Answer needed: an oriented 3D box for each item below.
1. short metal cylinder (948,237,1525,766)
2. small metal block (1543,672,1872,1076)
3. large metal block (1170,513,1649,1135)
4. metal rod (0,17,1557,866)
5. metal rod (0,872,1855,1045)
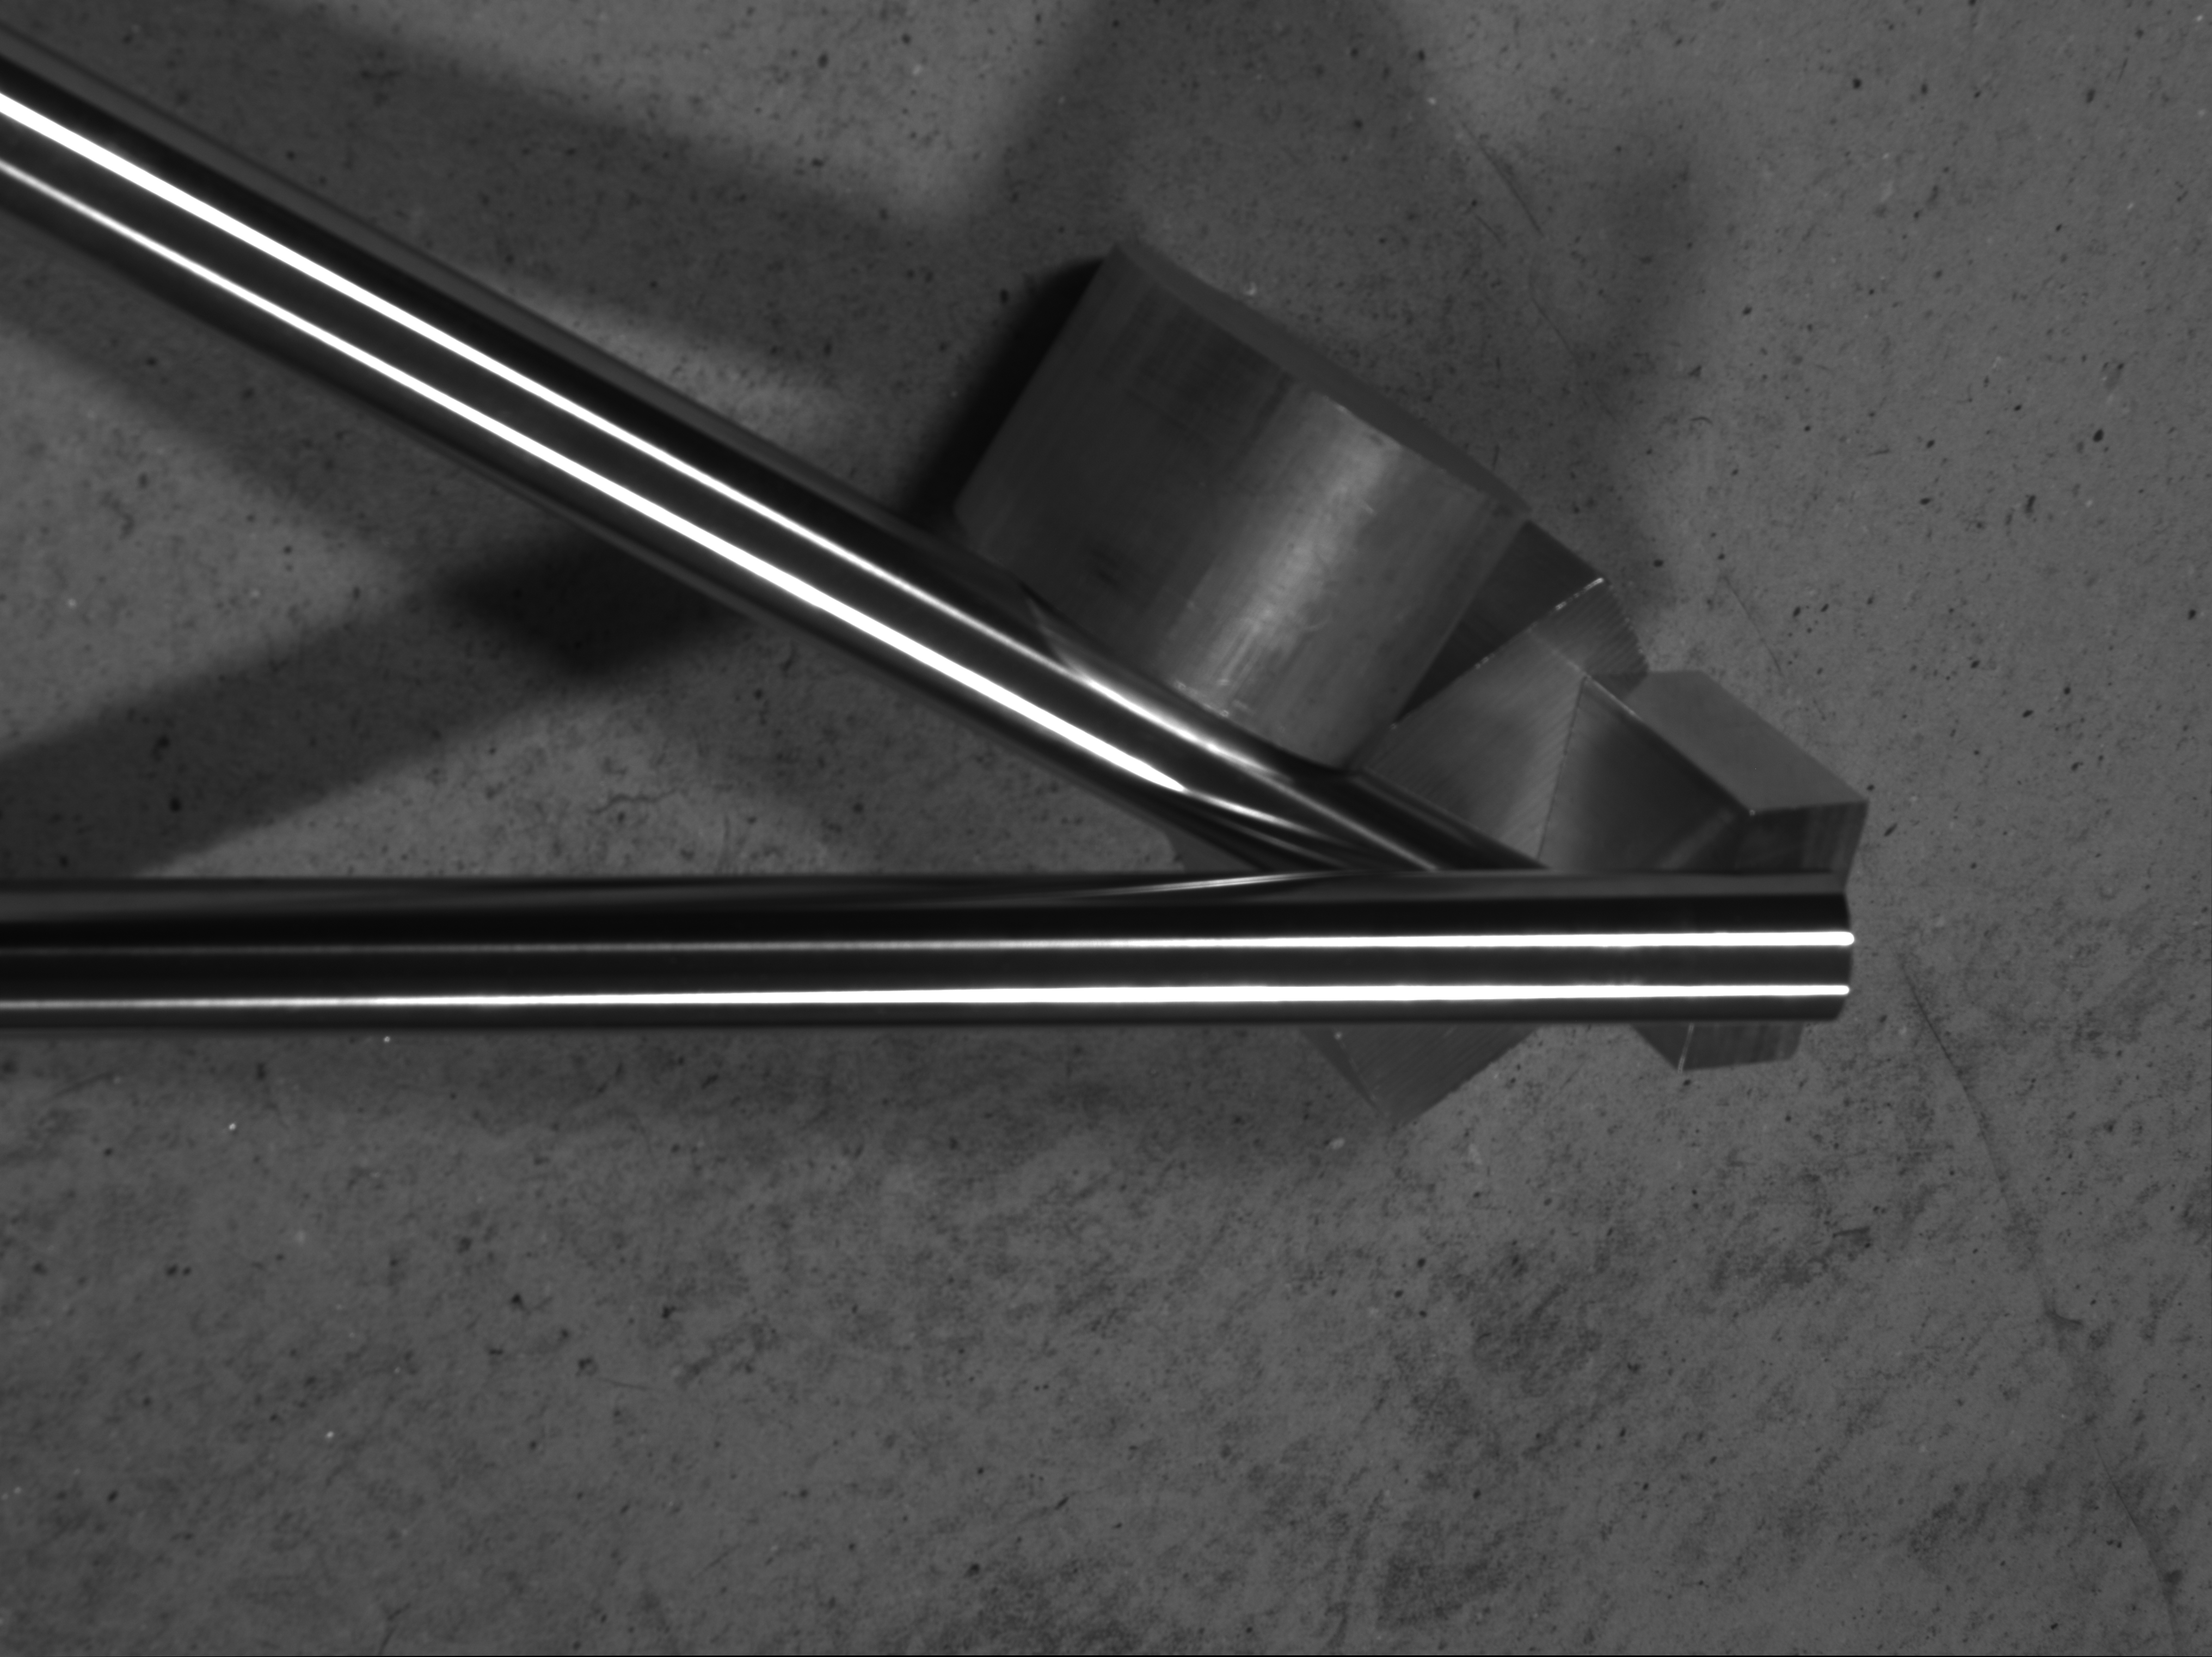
[{"bbox_3d":[0.021,-0.053,0.596,0.080,0.080,0.050,24,105,-38],"label":"short metal cylinder"},{"bbox_3d":[0.100,0.007,0.628,0.025,0.050,0.050,-4,120,-28],"label":"small metal block"},{"bbox_3d":[0.058,-0.006,0.663,0.080,0.050,0.080,-35,129,-5],"label":"large metal block"},{"bbox_3d":[-0.049,-0.045,0.557,0.301,0.025,0.025,27,103,-27],"label":"metal rod"},{"bbox_3d":[-0.032,0.020,0.575,0.300,0.025,0.025,0,120,-6],"label":"metal rod"}]
